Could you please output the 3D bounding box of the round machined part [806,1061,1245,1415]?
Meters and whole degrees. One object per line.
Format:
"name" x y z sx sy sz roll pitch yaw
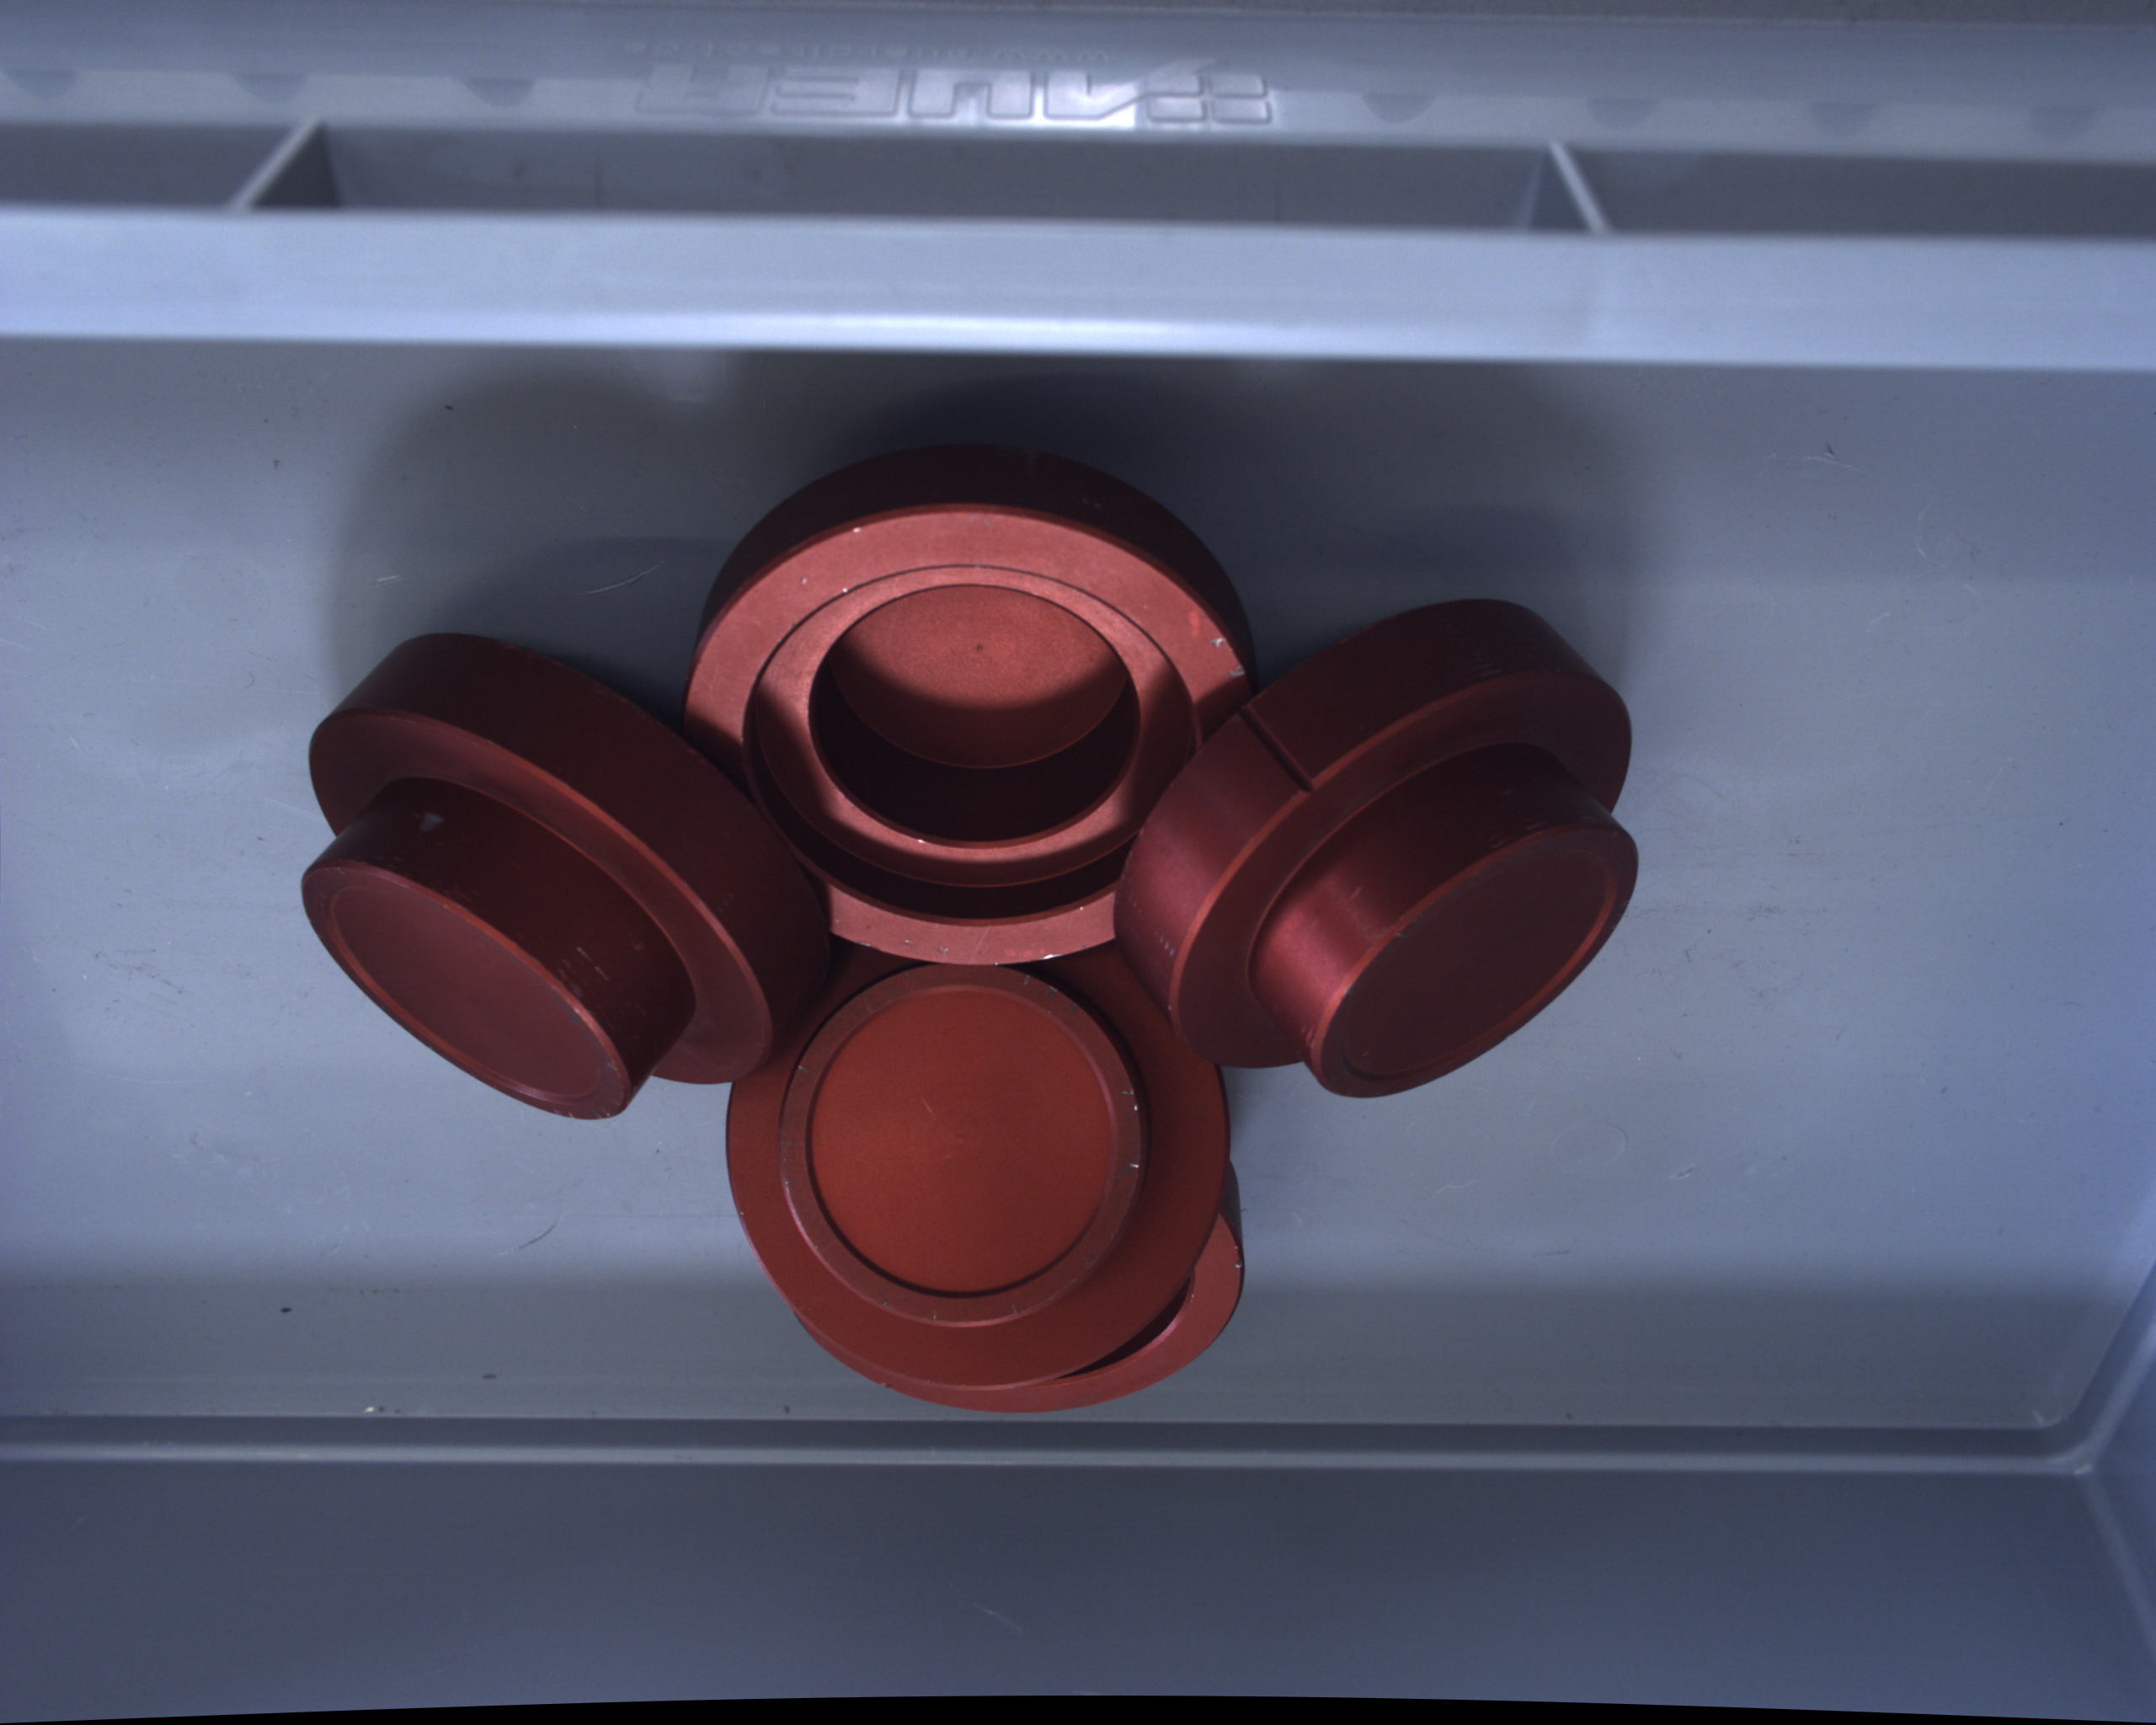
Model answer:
"round machined part" -0.014 0.076 0.459 0.099 0.042 0.097 0 130 0

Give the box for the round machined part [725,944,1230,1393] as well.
"round machined part" -0.020 0.053 0.403 0.099 0.097 0.042 -5 174 4

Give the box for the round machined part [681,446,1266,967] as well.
"round machined part" -0.018 -0.031 0.368 0.099 0.042 0.097 0 130 0

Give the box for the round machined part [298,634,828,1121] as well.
"round machined part" -0.098 0.009 0.374 0.098 0.042 0.097 22 146 16

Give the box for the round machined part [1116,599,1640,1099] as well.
"round machined part" 0.059 0.004 0.370 0.099 0.042 0.097 -25 146 -18
